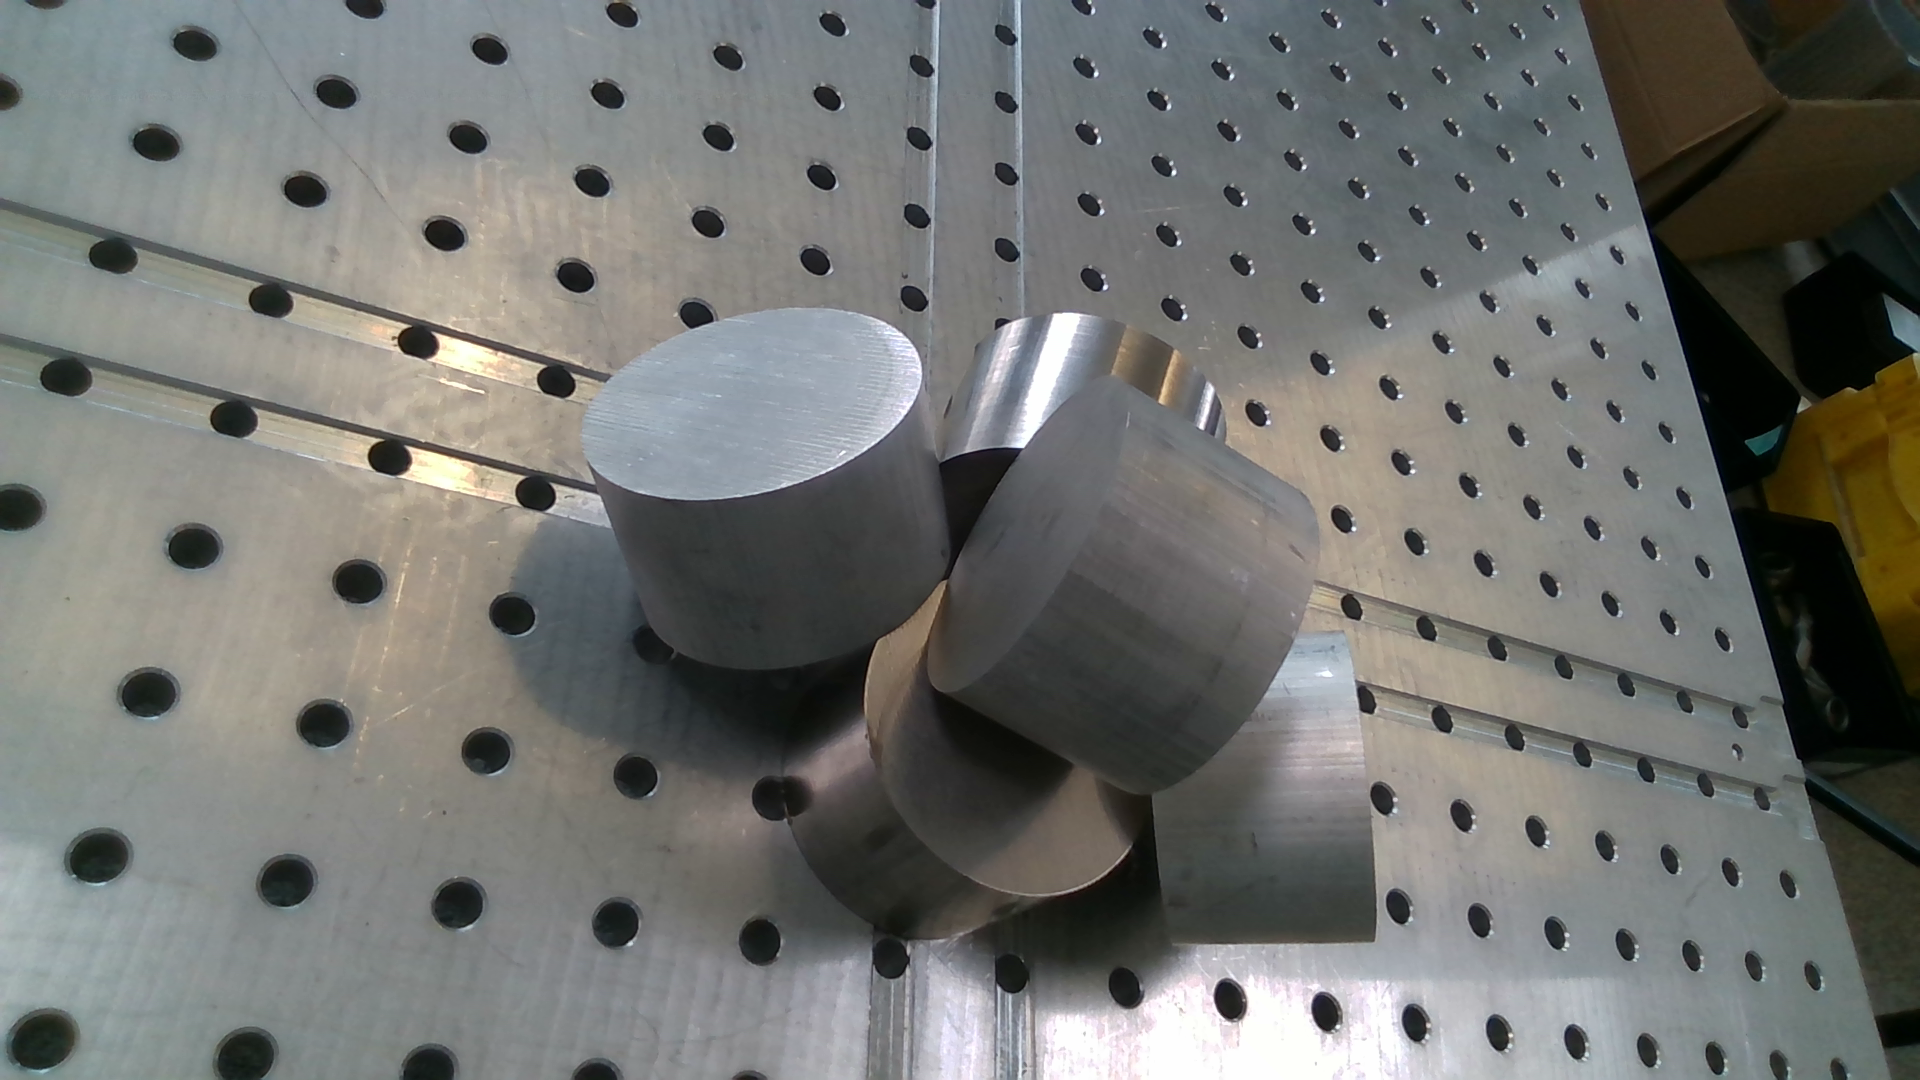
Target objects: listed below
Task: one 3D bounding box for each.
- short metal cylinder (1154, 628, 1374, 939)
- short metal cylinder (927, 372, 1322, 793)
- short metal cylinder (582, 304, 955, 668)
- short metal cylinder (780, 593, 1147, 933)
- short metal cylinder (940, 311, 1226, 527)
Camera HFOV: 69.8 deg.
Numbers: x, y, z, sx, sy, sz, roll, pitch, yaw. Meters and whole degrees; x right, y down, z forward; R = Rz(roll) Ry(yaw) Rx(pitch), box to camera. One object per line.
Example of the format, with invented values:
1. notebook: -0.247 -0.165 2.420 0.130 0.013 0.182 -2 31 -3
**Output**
1. short metal cylinder: 0.079 0.064 0.365 0.050 0.080 0.080 -4 60 11
2. short metal cylinder: 0.035 0.010 0.311 0.050 0.080 0.080 30 53 -15
3. short metal cylinder: -0.044 -0.015 0.334 0.080 0.050 0.080 -6 38 5
4. short metal cylinder: 0.001 0.055 0.350 0.080 0.050 0.080 15 58 -26
5. short metal cylinder: 0.031 -0.017 0.388 0.080 0.080 0.050 31 53 -14
